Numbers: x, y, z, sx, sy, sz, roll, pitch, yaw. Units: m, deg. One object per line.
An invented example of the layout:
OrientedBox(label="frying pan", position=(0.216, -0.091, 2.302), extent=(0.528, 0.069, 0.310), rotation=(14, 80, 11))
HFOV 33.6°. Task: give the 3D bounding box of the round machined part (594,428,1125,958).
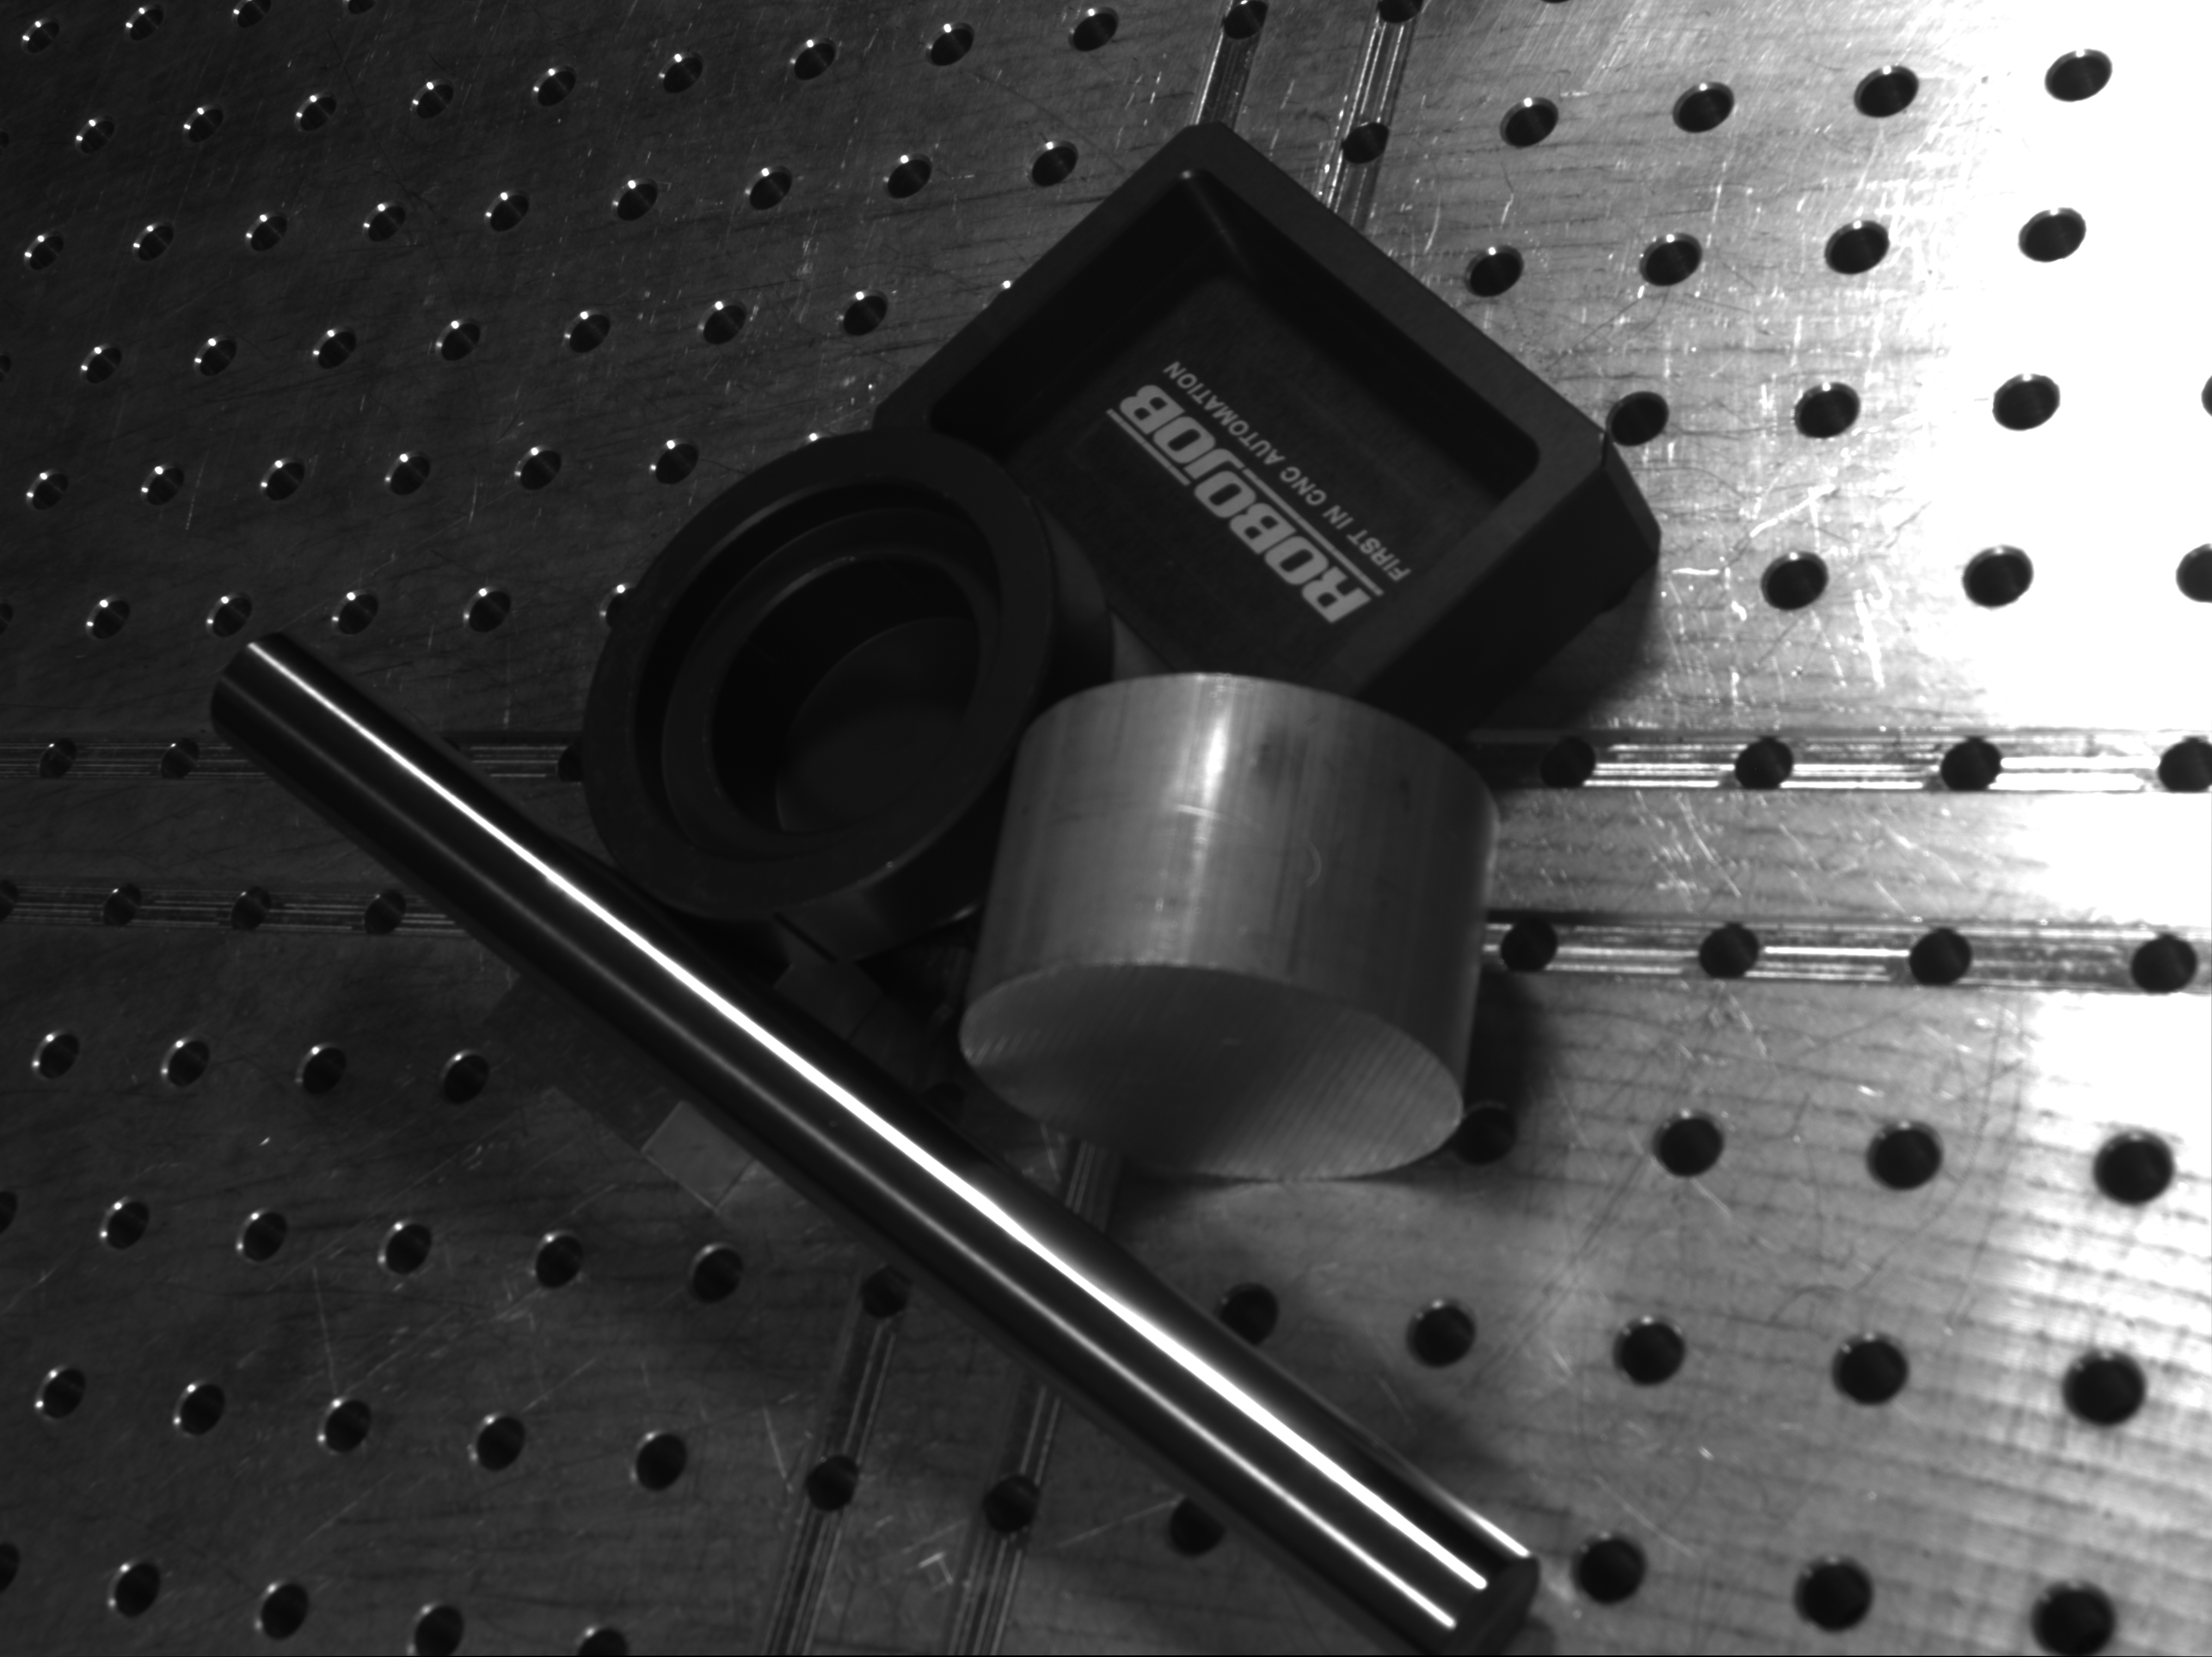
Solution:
OrientedBox(label="round machined part", position=(-0.040, -0.020, 0.660), extent=(0.098, 0.042, 0.098), rotation=(-15, 55, 22))

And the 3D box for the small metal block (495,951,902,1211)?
OrientedBox(label="small metal block", position=(-0.074, 0.033, 0.667), extent=(0.050, 0.025, 0.050), rotation=(32, 79, 38))

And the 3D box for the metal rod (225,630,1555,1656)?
OrientedBox(label="metal rod", position=(-0.049, 0.047, 0.619), extent=(0.299, 0.025, 0.025), rotation=(34, 81, 30))

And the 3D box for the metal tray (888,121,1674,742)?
OrientedBox(label="metal tray", position=(0.029, -0.064, 0.667), extent=(0.090, 0.030, 0.130), rotation=(-42, 50, -1))

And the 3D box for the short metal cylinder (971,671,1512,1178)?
OrientedBox(label="short metal cylinder", position=(0.022, 0.017, 0.588), extent=(0.080, 0.080, 0.050), rotation=(-4, 60, 26))
